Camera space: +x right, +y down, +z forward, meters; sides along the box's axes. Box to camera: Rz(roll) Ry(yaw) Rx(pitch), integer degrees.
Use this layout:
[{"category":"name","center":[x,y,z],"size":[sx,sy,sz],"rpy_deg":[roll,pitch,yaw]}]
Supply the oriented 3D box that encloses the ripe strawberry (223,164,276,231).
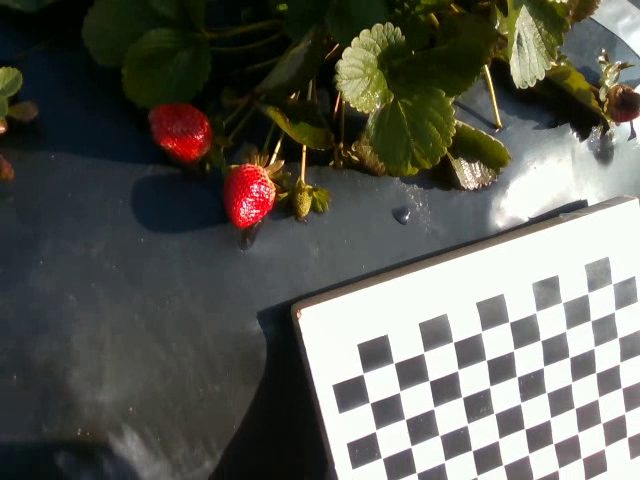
[{"category":"ripe strawberry","center":[-0.051,-0.030,0.412],"size":[0.043,0.053,0.039],"rpy_deg":[29,-42,-18]}]

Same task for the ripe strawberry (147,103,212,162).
[{"category":"ripe strawberry","center":[-0.099,-0.079,0.427],"size":[0.054,0.048,0.039],"rpy_deg":[-2,8,-40]}]
